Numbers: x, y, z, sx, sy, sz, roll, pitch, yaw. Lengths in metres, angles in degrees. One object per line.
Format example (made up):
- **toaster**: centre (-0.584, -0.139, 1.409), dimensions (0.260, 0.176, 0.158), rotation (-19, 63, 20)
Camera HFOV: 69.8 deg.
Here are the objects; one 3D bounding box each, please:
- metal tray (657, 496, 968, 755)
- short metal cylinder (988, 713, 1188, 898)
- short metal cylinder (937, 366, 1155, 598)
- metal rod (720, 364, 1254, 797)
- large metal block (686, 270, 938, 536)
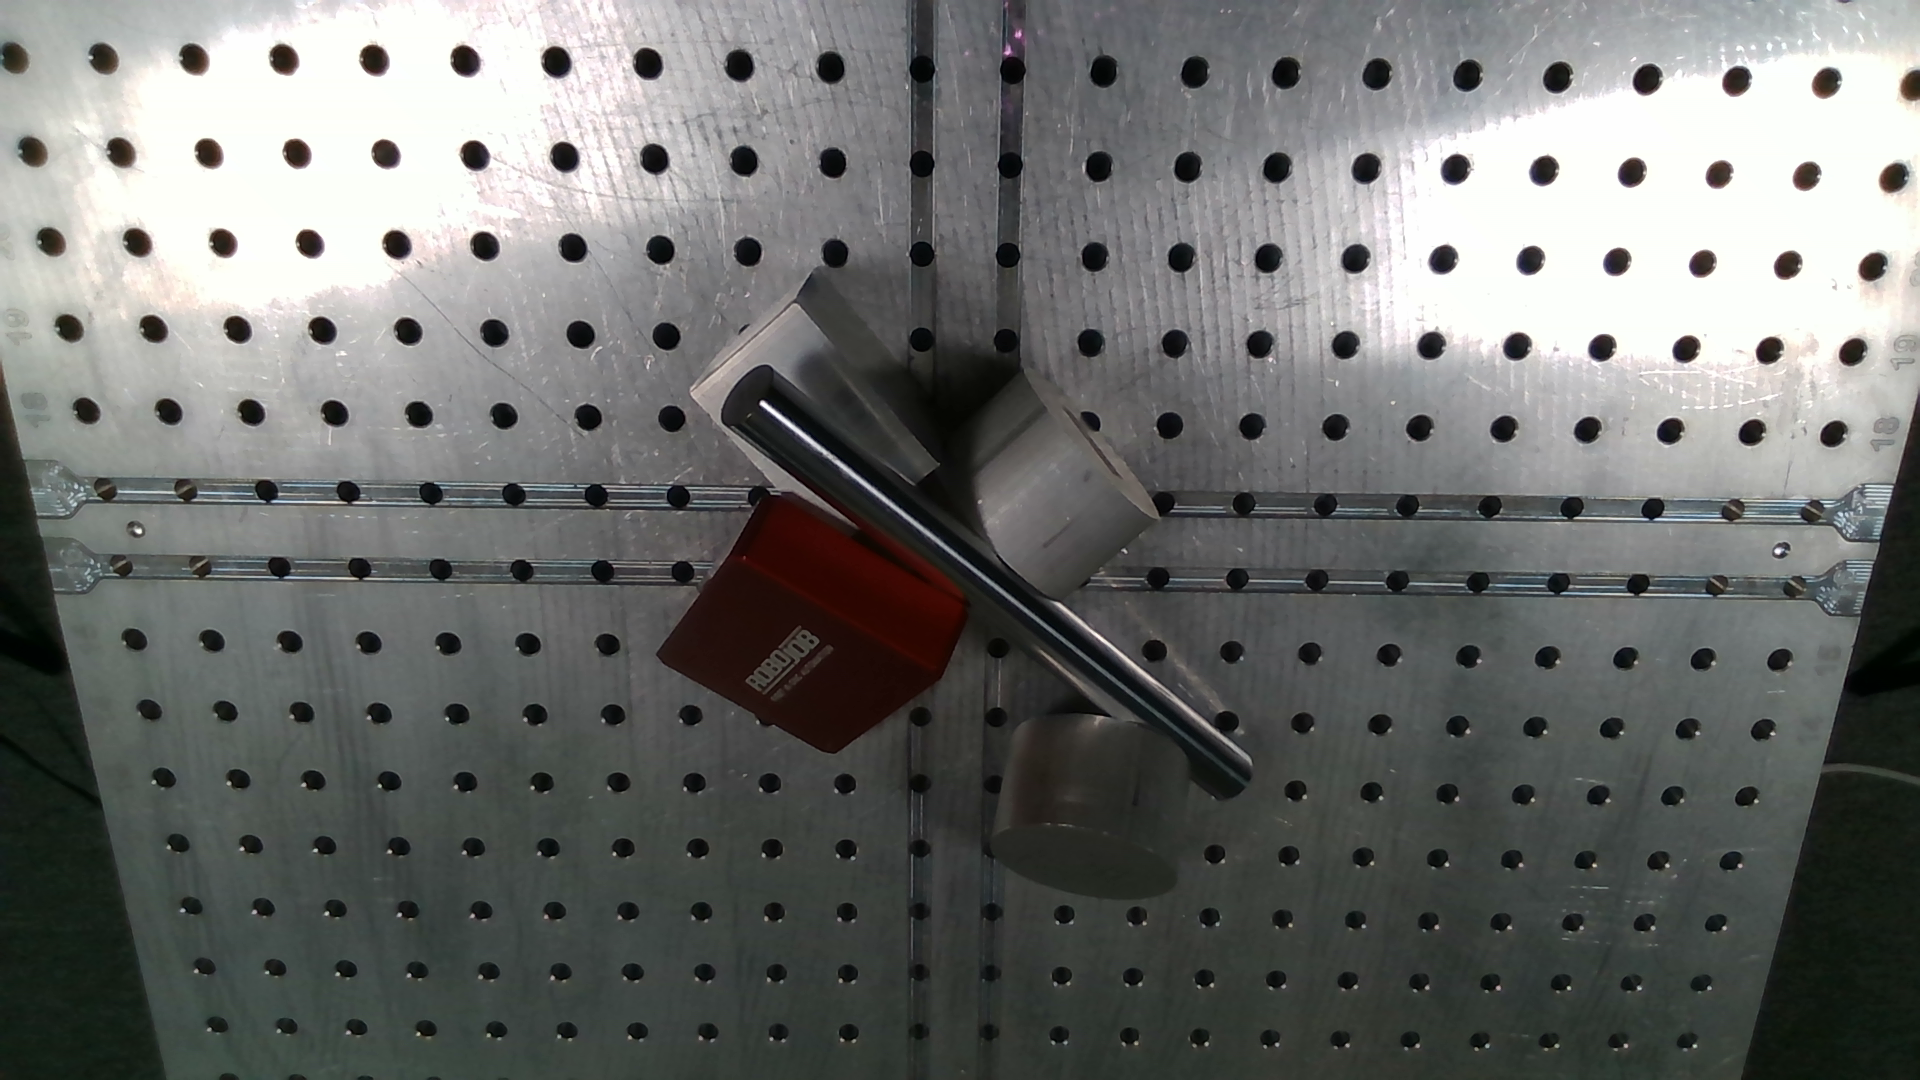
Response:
- **metal tray**: centre (-0.064, 0.039, 0.557), dimensions (0.090, 0.030, 0.130), rotation (30, 149, -11)
- **short metal cylinder**: centre (0.056, 0.116, 0.595), dimensions (0.080, 0.050, 0.080), rotation (10, 148, 7)
- **short metal cylinder**: centre (0.034, -0.023, 0.549), dimensions (0.050, 0.080, 0.080), rotation (-42, 105, 14)
- **metal rod**: centre (0.026, 0.029, 0.541), dimensions (0.025, 0.025, 0.301), rotation (-42, 126, 14)
- **large metal block**: centre (-0.054, -0.052, 0.538), dimensions (0.050, 0.080, 0.080), rotation (-38, 106, 13)
